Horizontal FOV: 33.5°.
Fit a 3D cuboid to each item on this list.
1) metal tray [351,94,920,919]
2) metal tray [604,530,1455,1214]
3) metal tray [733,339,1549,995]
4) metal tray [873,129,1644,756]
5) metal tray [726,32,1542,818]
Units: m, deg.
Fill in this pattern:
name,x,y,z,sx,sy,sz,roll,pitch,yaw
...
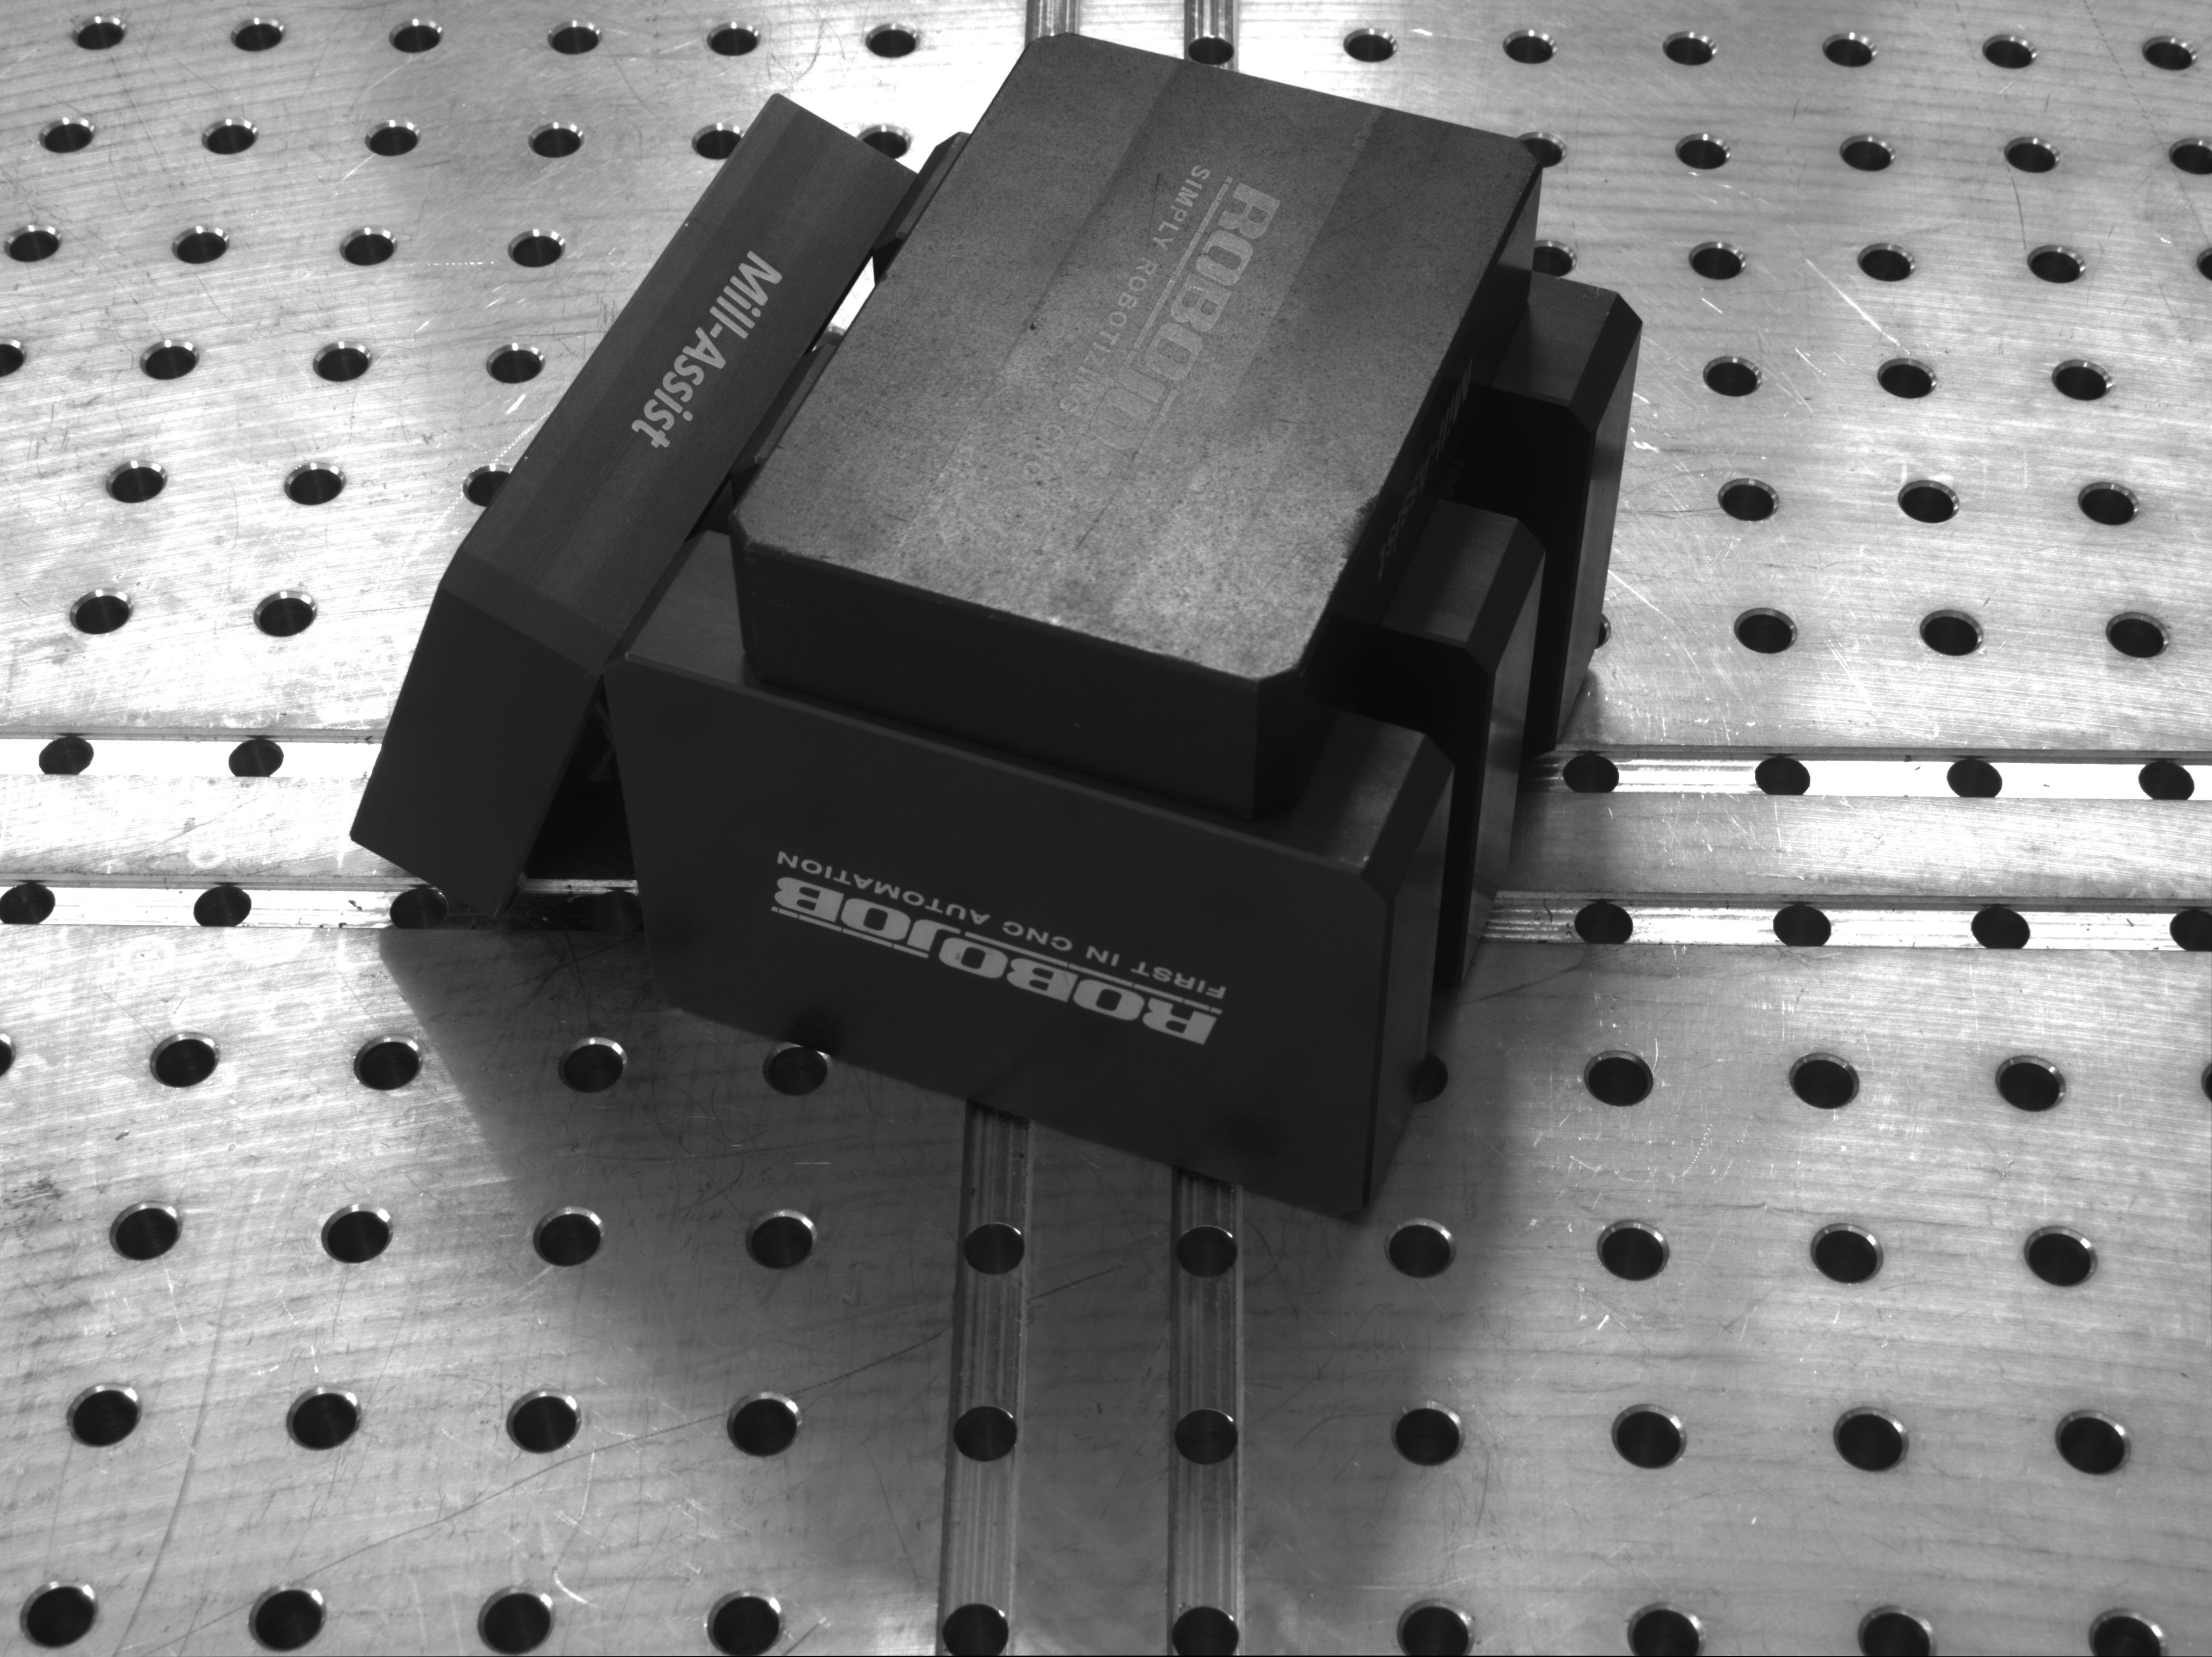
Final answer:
name,x,y,z,sx,sy,sz,roll,pitch,yaw
metal tray,-0.082,-0.057,0.648,0.030,0.090,0.130,30,53,-4
metal tray,-0.012,0.008,0.596,0.130,0.090,0.030,17,52,13
metal tray,0.004,-0.026,0.623,0.130,0.090,0.030,16,51,12
metal tray,0.026,-0.068,0.659,0.130,0.090,0.030,16,52,14
metal tray,0.007,-0.068,0.581,0.090,0.030,0.130,16,52,14
